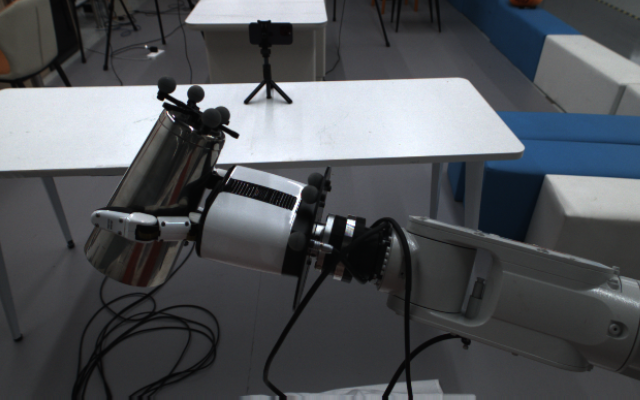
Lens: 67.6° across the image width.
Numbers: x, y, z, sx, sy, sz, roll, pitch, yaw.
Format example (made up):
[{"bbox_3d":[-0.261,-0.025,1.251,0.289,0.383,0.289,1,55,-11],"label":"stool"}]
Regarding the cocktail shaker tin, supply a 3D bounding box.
[{"bbox_3d":[-0.162,-0.008,0.499,0.093,0.170,0.093,28,14,-8],"label":"cocktail shaker tin"}]
